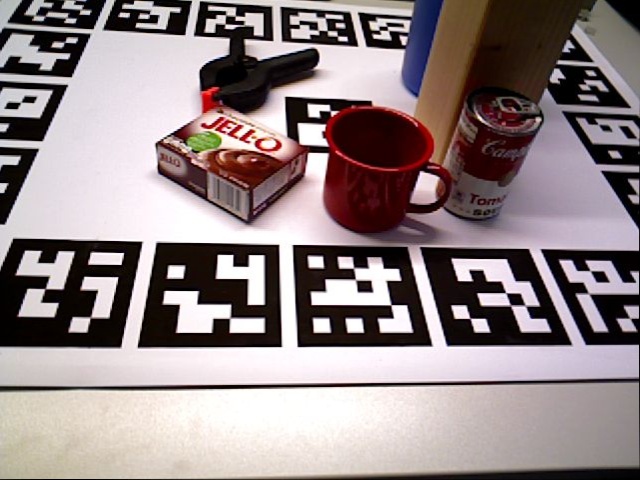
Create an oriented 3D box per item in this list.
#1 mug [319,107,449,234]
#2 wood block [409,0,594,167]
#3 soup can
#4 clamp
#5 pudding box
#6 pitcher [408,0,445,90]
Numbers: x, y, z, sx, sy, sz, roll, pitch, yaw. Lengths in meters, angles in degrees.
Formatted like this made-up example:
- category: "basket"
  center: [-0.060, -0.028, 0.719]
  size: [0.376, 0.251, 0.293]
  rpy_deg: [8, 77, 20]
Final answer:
- category: "mug"
  center: [0.053, -0.055, 0.466]
  size: [0.117, 0.083, 0.091]
  rpy_deg: [27, 47, 19]
- category: "wood block"
  center: [0.161, -0.176, 0.503]
  size: [0.089, 0.211, 0.089]
  rpy_deg: [1, 47, -12]
- category: "soup can"
  center: [0.145, -0.075, 0.480]
  size: [0.067, 0.104, 0.067]
  rpy_deg: [3, 49, -5]
- category: "clamp"
  center: [-0.084, -0.188, 0.614]
  size: [0.122, 0.037, 0.161]
  rpy_deg: [27, 50, 7]
- category: "pudding box"
  center: [-0.093, -0.076, 0.501]
  size: [0.114, 0.039, 0.088]
  rpy_deg: [29, 53, 19]
- category: "pitcher"
  center: [0.178, -0.274, 0.575]
  size: [0.187, 0.248, 0.131]
  rpy_deg: [-1, 45, -5]
